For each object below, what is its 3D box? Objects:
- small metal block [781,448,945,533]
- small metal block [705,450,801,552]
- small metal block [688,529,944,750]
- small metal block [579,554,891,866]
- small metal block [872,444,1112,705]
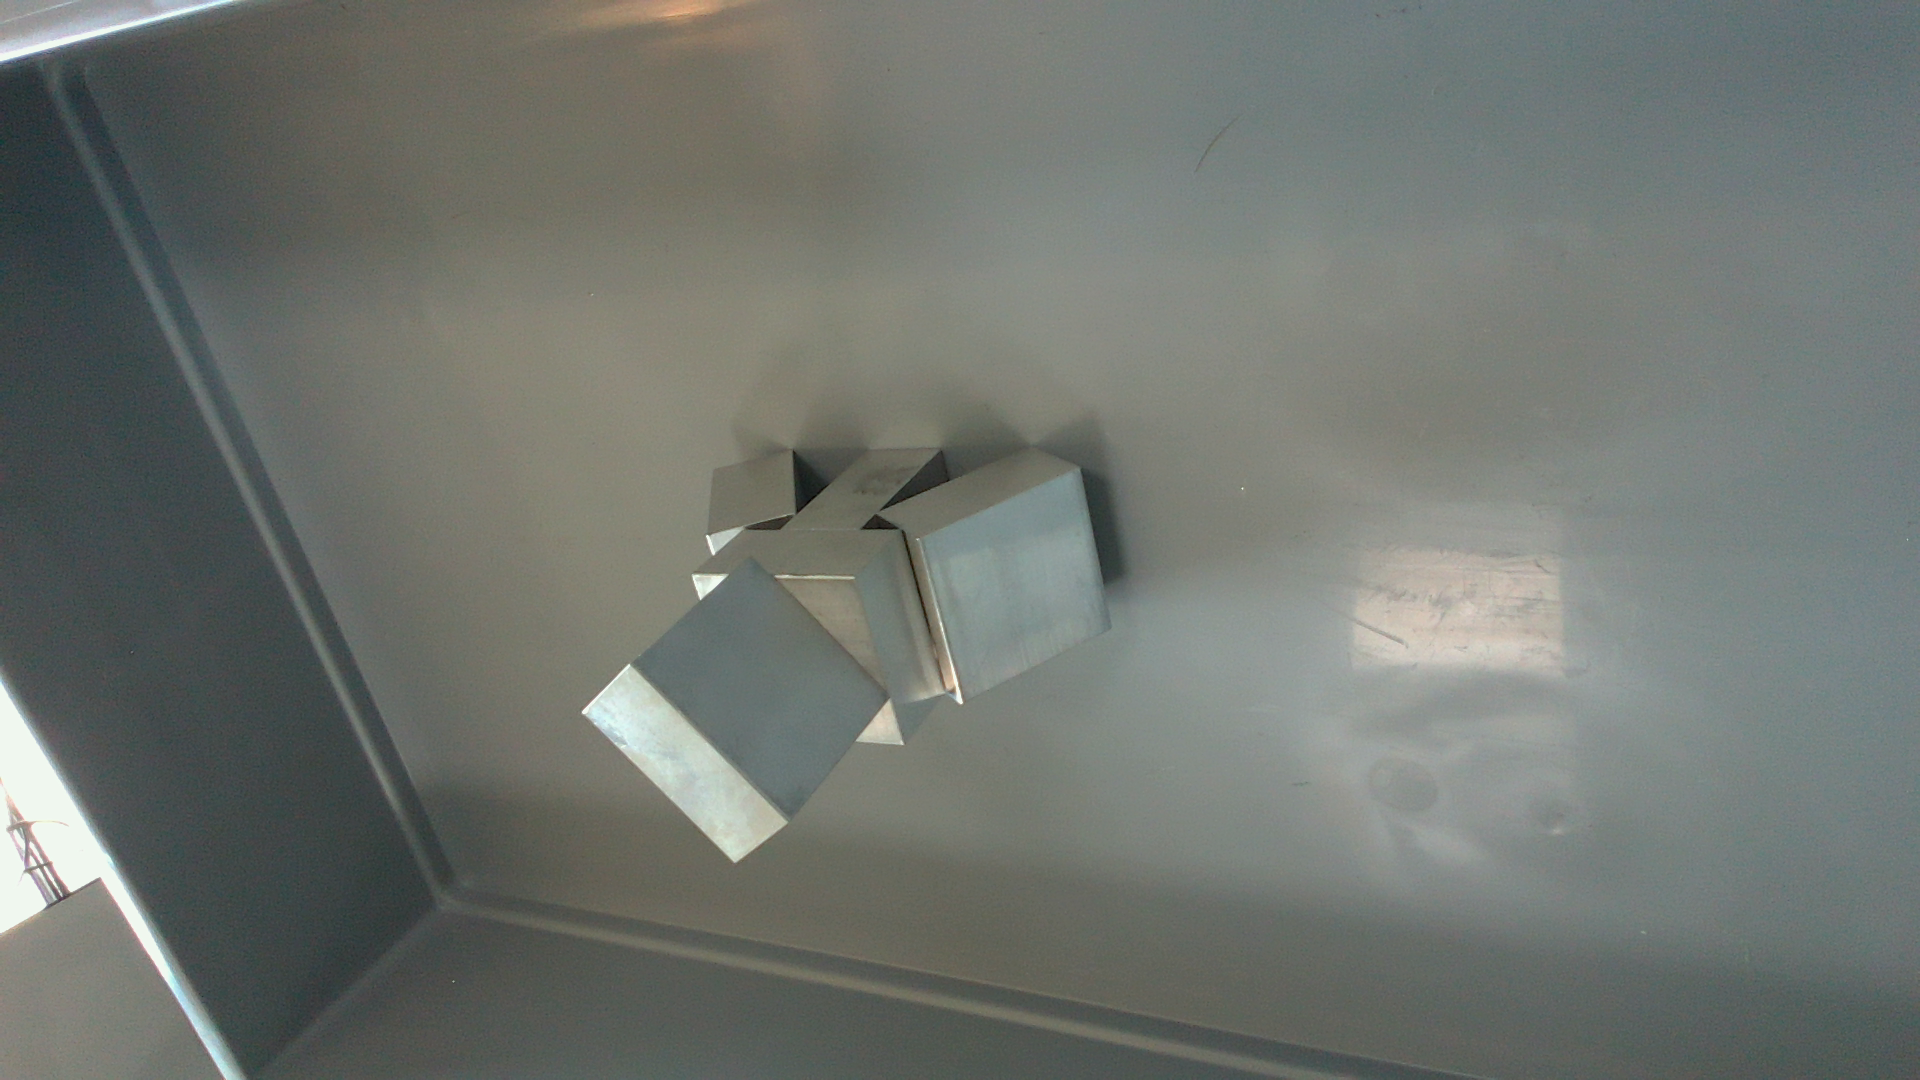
[{"bbox_3d":[-0.022,0.007,0.391,0.025,0.050,0.050,1,119,28],"label":"small metal block"},{"bbox_3d":[-0.055,0.008,0.405,0.025,0.050,0.050,-15,115,-2],"label":"small metal block"},{"bbox_3d":[-0.037,0.025,0.361,0.050,0.025,0.050,1,119,28],"label":"small metal block"},{"bbox_3d":[-0.052,0.040,0.330,0.050,0.050,0.025,46,130,-4],"label":"small metal block"},{"bbox_3d":[0.010,0.008,0.372,0.025,0.050,0.050,29,138,55],"label":"small metal block"}]
